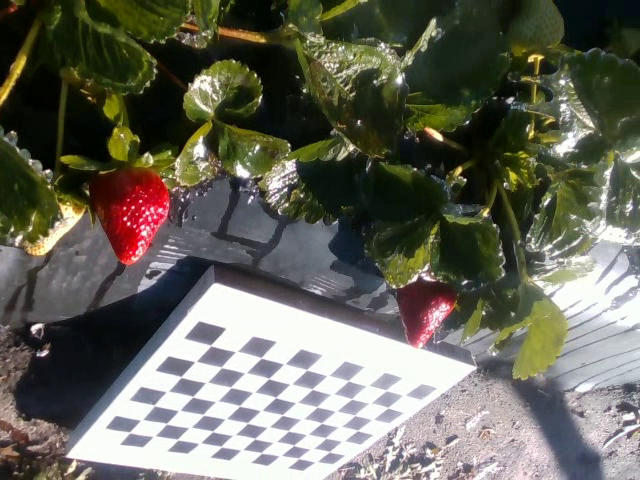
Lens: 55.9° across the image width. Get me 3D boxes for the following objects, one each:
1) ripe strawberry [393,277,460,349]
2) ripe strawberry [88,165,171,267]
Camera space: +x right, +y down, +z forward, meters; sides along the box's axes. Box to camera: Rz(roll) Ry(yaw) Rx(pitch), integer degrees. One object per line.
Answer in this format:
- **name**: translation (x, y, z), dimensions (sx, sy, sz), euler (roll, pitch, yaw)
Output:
- **ripe strawberry**: translation (0.079, 0.058, 0.455), dimensions (0.048, 0.061, 0.044), euler (16, 7, -28)
- **ripe strawberry**: translation (-0.109, -0.011, 0.346), dimensions (0.042, 0.061, 0.046), euler (10, 1, -23)
